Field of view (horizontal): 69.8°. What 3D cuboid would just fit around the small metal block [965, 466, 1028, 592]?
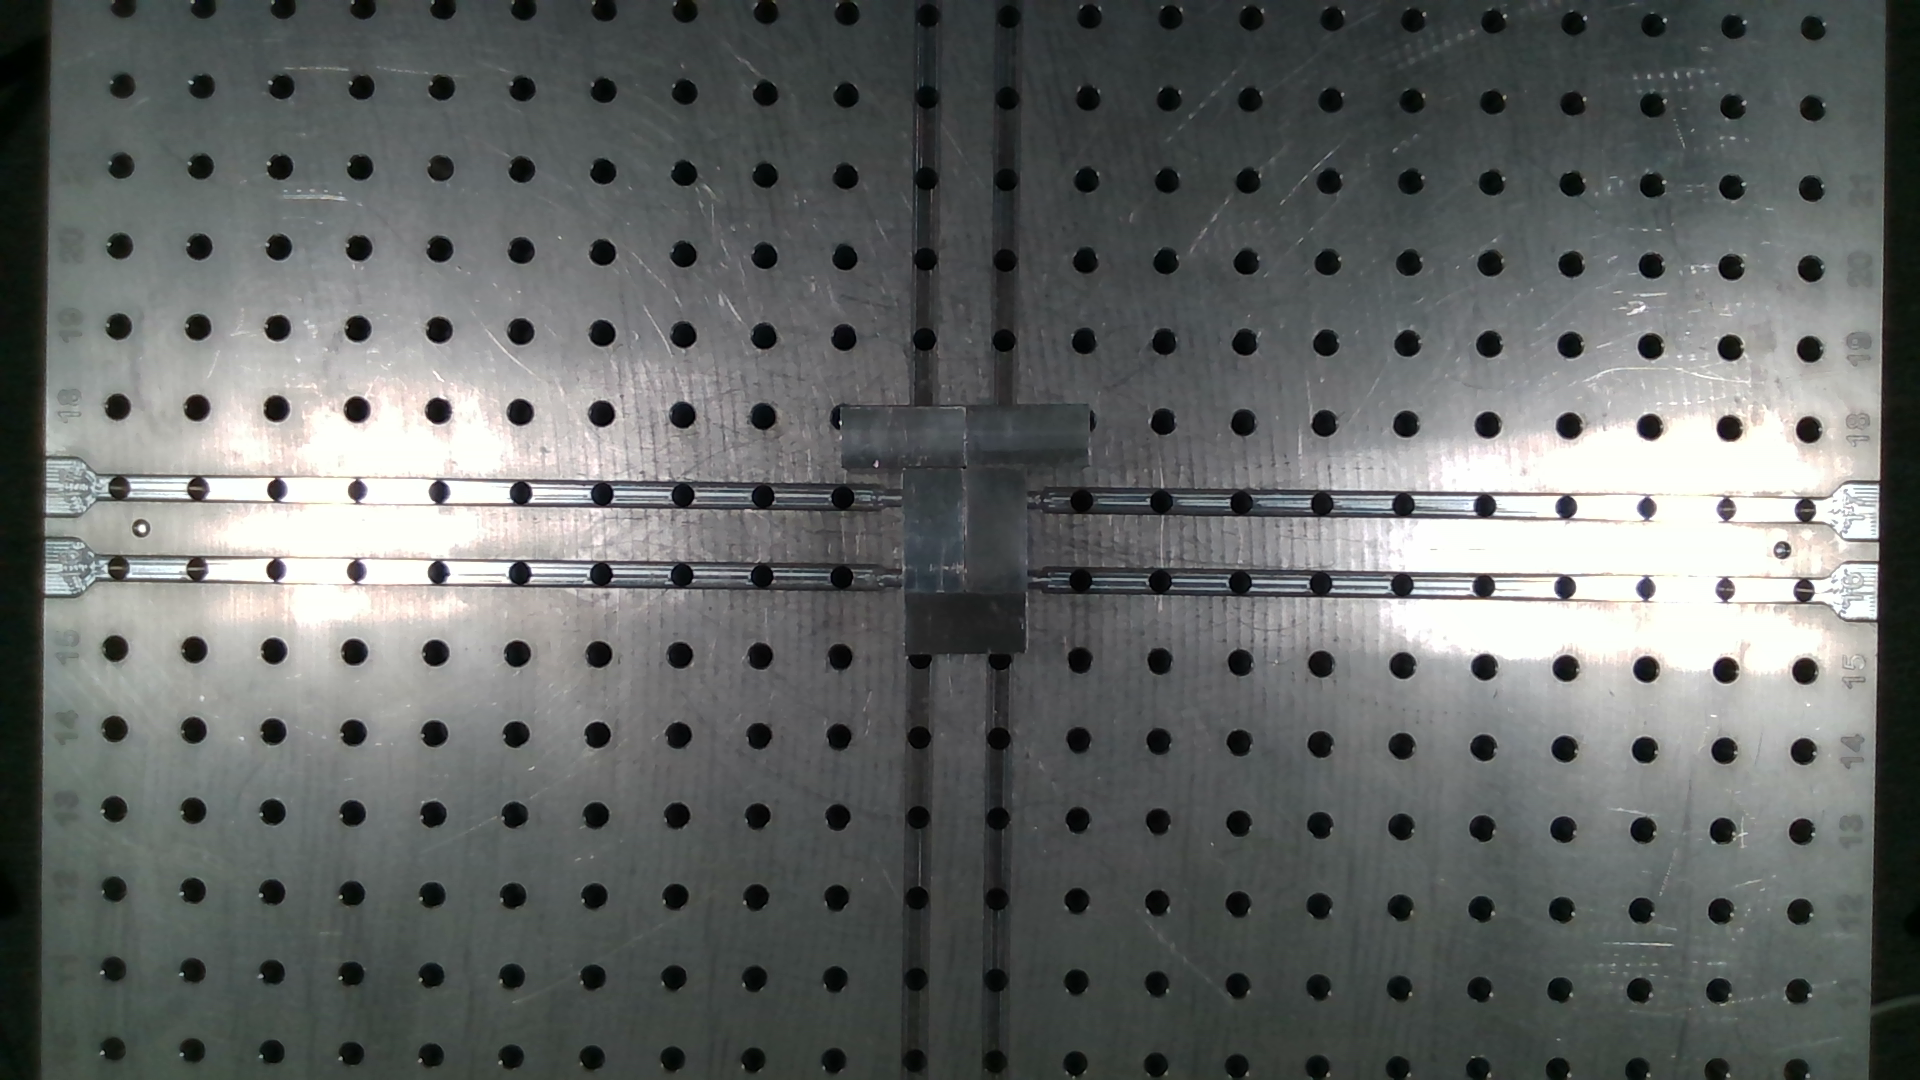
[{"bbox_3d":[0.015,-0.004,0.576,0.025,0.050,0.050,0,90,0],"label":"small metal block"}]

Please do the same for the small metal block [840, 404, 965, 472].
[{"bbox_3d":[-0.023,-0.042,0.576,0.050,0.050,0.025,0,90,0],"label":"small metal block"}]

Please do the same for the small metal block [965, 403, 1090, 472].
[{"bbox_3d":[0.027,-0.042,0.576,0.050,0.050,0.025,0,90,0],"label":"small metal block"}]

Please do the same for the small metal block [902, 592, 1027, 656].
[{"bbox_3d":[0.002,0.034,0.576,0.050,0.050,0.025,0,90,0],"label":"small metal block"}]

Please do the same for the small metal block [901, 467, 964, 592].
[{"bbox_3d":[-0.011,-0.004,0.576,0.025,0.050,0.050,0,90,0],"label":"small metal block"}]
